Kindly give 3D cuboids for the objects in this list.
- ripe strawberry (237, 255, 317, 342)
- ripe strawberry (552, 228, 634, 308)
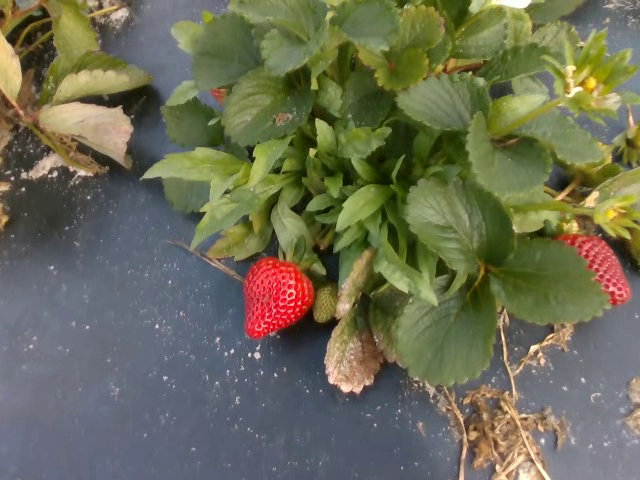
[{"bbox_3d":[-0.026,0.033,0.333,0.043,0.051,0.043,21,-23,11],"label":"ripe strawberry"},{"bbox_3d":[0.136,0.018,0.317,0.046,0.043,0.046,39,7,40],"label":"ripe strawberry"}]
